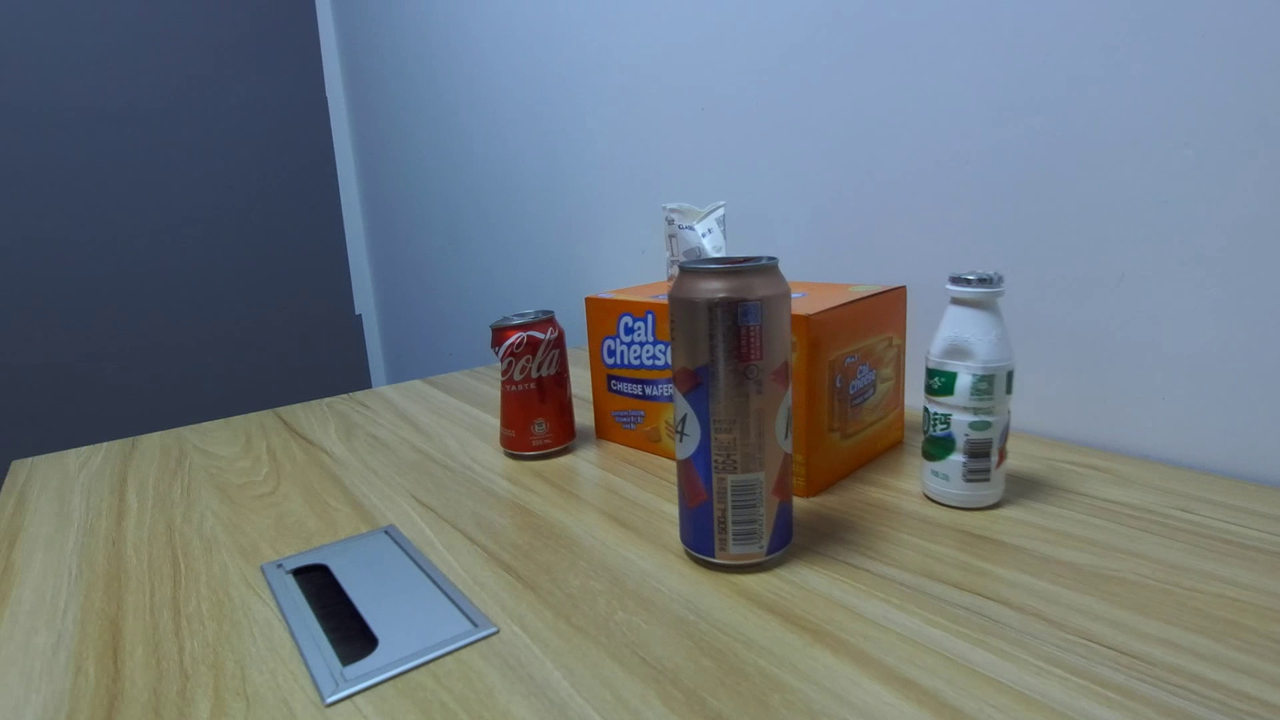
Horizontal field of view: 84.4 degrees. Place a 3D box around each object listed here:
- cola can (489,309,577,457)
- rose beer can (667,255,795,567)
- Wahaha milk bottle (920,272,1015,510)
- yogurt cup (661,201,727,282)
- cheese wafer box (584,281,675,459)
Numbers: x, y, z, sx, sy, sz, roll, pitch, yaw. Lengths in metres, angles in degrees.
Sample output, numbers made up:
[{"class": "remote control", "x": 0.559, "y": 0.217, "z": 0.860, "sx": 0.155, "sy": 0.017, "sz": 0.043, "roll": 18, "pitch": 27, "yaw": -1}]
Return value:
[{"class": "cola can", "x": -0.090, "y": 0.019, "z": 0.596, "sx": 0.065, "sy": 0.117, "sz": 0.072, "roll": -1, "pitch": 14, "yaw": 8}, {"class": "rose beer can", "x": 0.052, "y": 0.030, "z": 0.397, "sx": 0.068, "sy": 0.169, "sz": 0.068, "roll": -4, "pitch": 13, "yaw": 1}, {"class": "Wahaha milk bottle", "x": 0.208, "y": 0.024, "z": 0.449, "sx": 0.053, "sy": 0.136, "sz": 0.053, "roll": -3, "pitch": 14, "yaw": 1}, {"class": "yogurt cup", "x": 0.050, "y": -0.103, "z": 0.629, "sx": 0.055, "sy": 0.072, "sz": 0.055, "roll": -3, "pitch": 14, "yaw": 4}, {"class": "cheese wafer box", "x": 0.024, "y": 0.015, "z": 0.756, "sx": 0.148, "sy": 0.129, "sz": 0.221, "roll": -10, "pitch": 26, "yaw": -1}]
